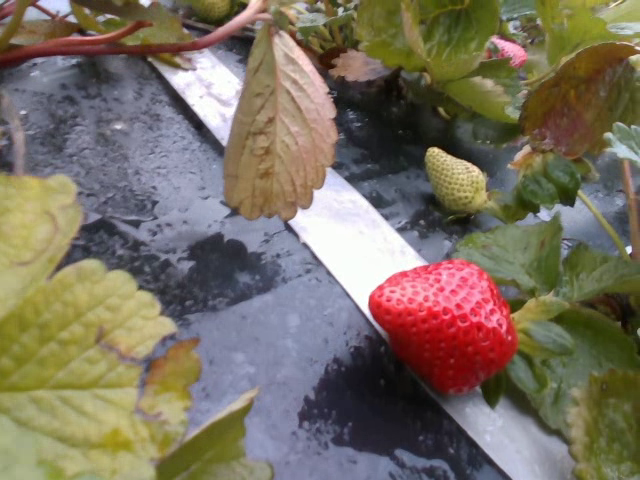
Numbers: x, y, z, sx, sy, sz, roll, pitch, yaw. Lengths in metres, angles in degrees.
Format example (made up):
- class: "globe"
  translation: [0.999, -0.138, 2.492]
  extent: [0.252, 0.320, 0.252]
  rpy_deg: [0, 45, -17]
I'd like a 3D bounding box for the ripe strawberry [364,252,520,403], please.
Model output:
- class: "ripe strawberry"
  translation: [0.029, 0.020, 0.156]
  extent: [0.051, 0.042, 0.037]
  rpy_deg: [15, -29, -41]
